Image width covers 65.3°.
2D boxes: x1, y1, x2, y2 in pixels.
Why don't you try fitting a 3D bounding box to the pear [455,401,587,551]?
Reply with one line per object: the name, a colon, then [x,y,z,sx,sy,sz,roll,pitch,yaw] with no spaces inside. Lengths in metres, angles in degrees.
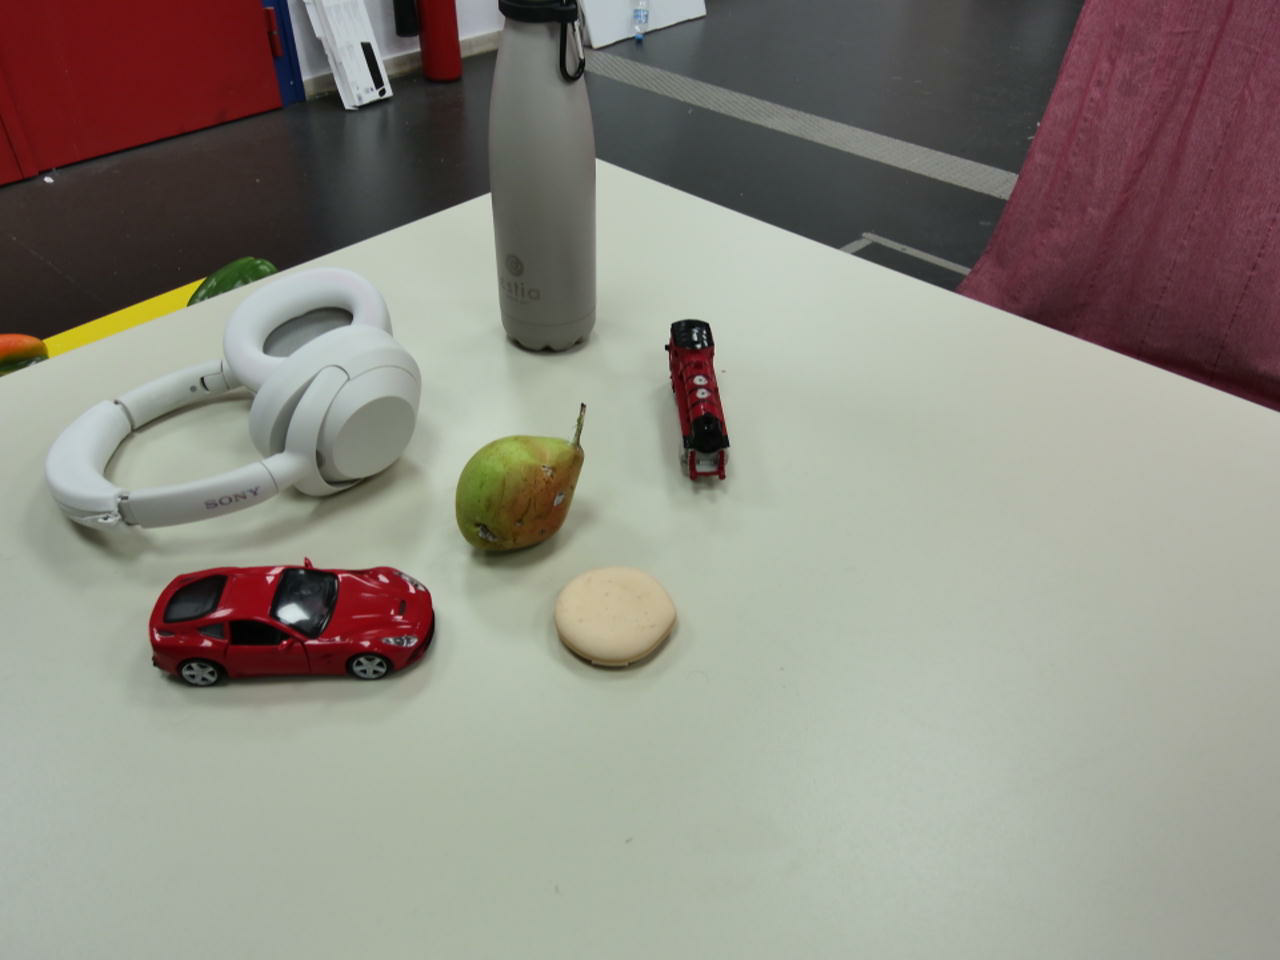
pear: [-0.066,0.004,0.554,0.070,0.069,0.068,2,38,1]
